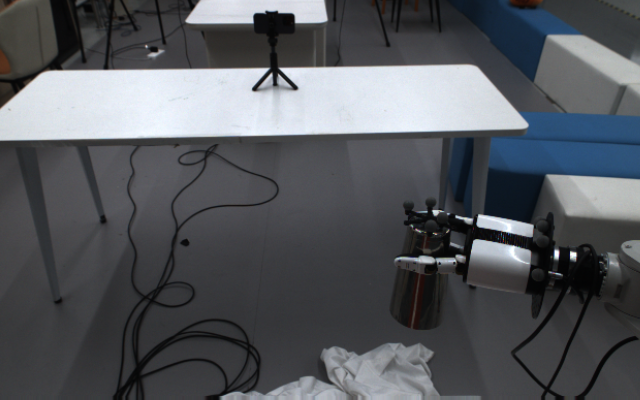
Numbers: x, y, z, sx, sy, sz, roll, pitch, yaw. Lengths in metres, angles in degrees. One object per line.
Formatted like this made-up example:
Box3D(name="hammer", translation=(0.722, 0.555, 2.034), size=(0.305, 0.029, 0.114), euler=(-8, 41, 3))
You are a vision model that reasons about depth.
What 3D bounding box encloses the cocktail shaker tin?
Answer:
Box3D(name="cocktail shaker tin", translation=(0.169, 0.109, 0.784), size=(0.093, 0.170, 0.093), euler=(1, 27, -1))
